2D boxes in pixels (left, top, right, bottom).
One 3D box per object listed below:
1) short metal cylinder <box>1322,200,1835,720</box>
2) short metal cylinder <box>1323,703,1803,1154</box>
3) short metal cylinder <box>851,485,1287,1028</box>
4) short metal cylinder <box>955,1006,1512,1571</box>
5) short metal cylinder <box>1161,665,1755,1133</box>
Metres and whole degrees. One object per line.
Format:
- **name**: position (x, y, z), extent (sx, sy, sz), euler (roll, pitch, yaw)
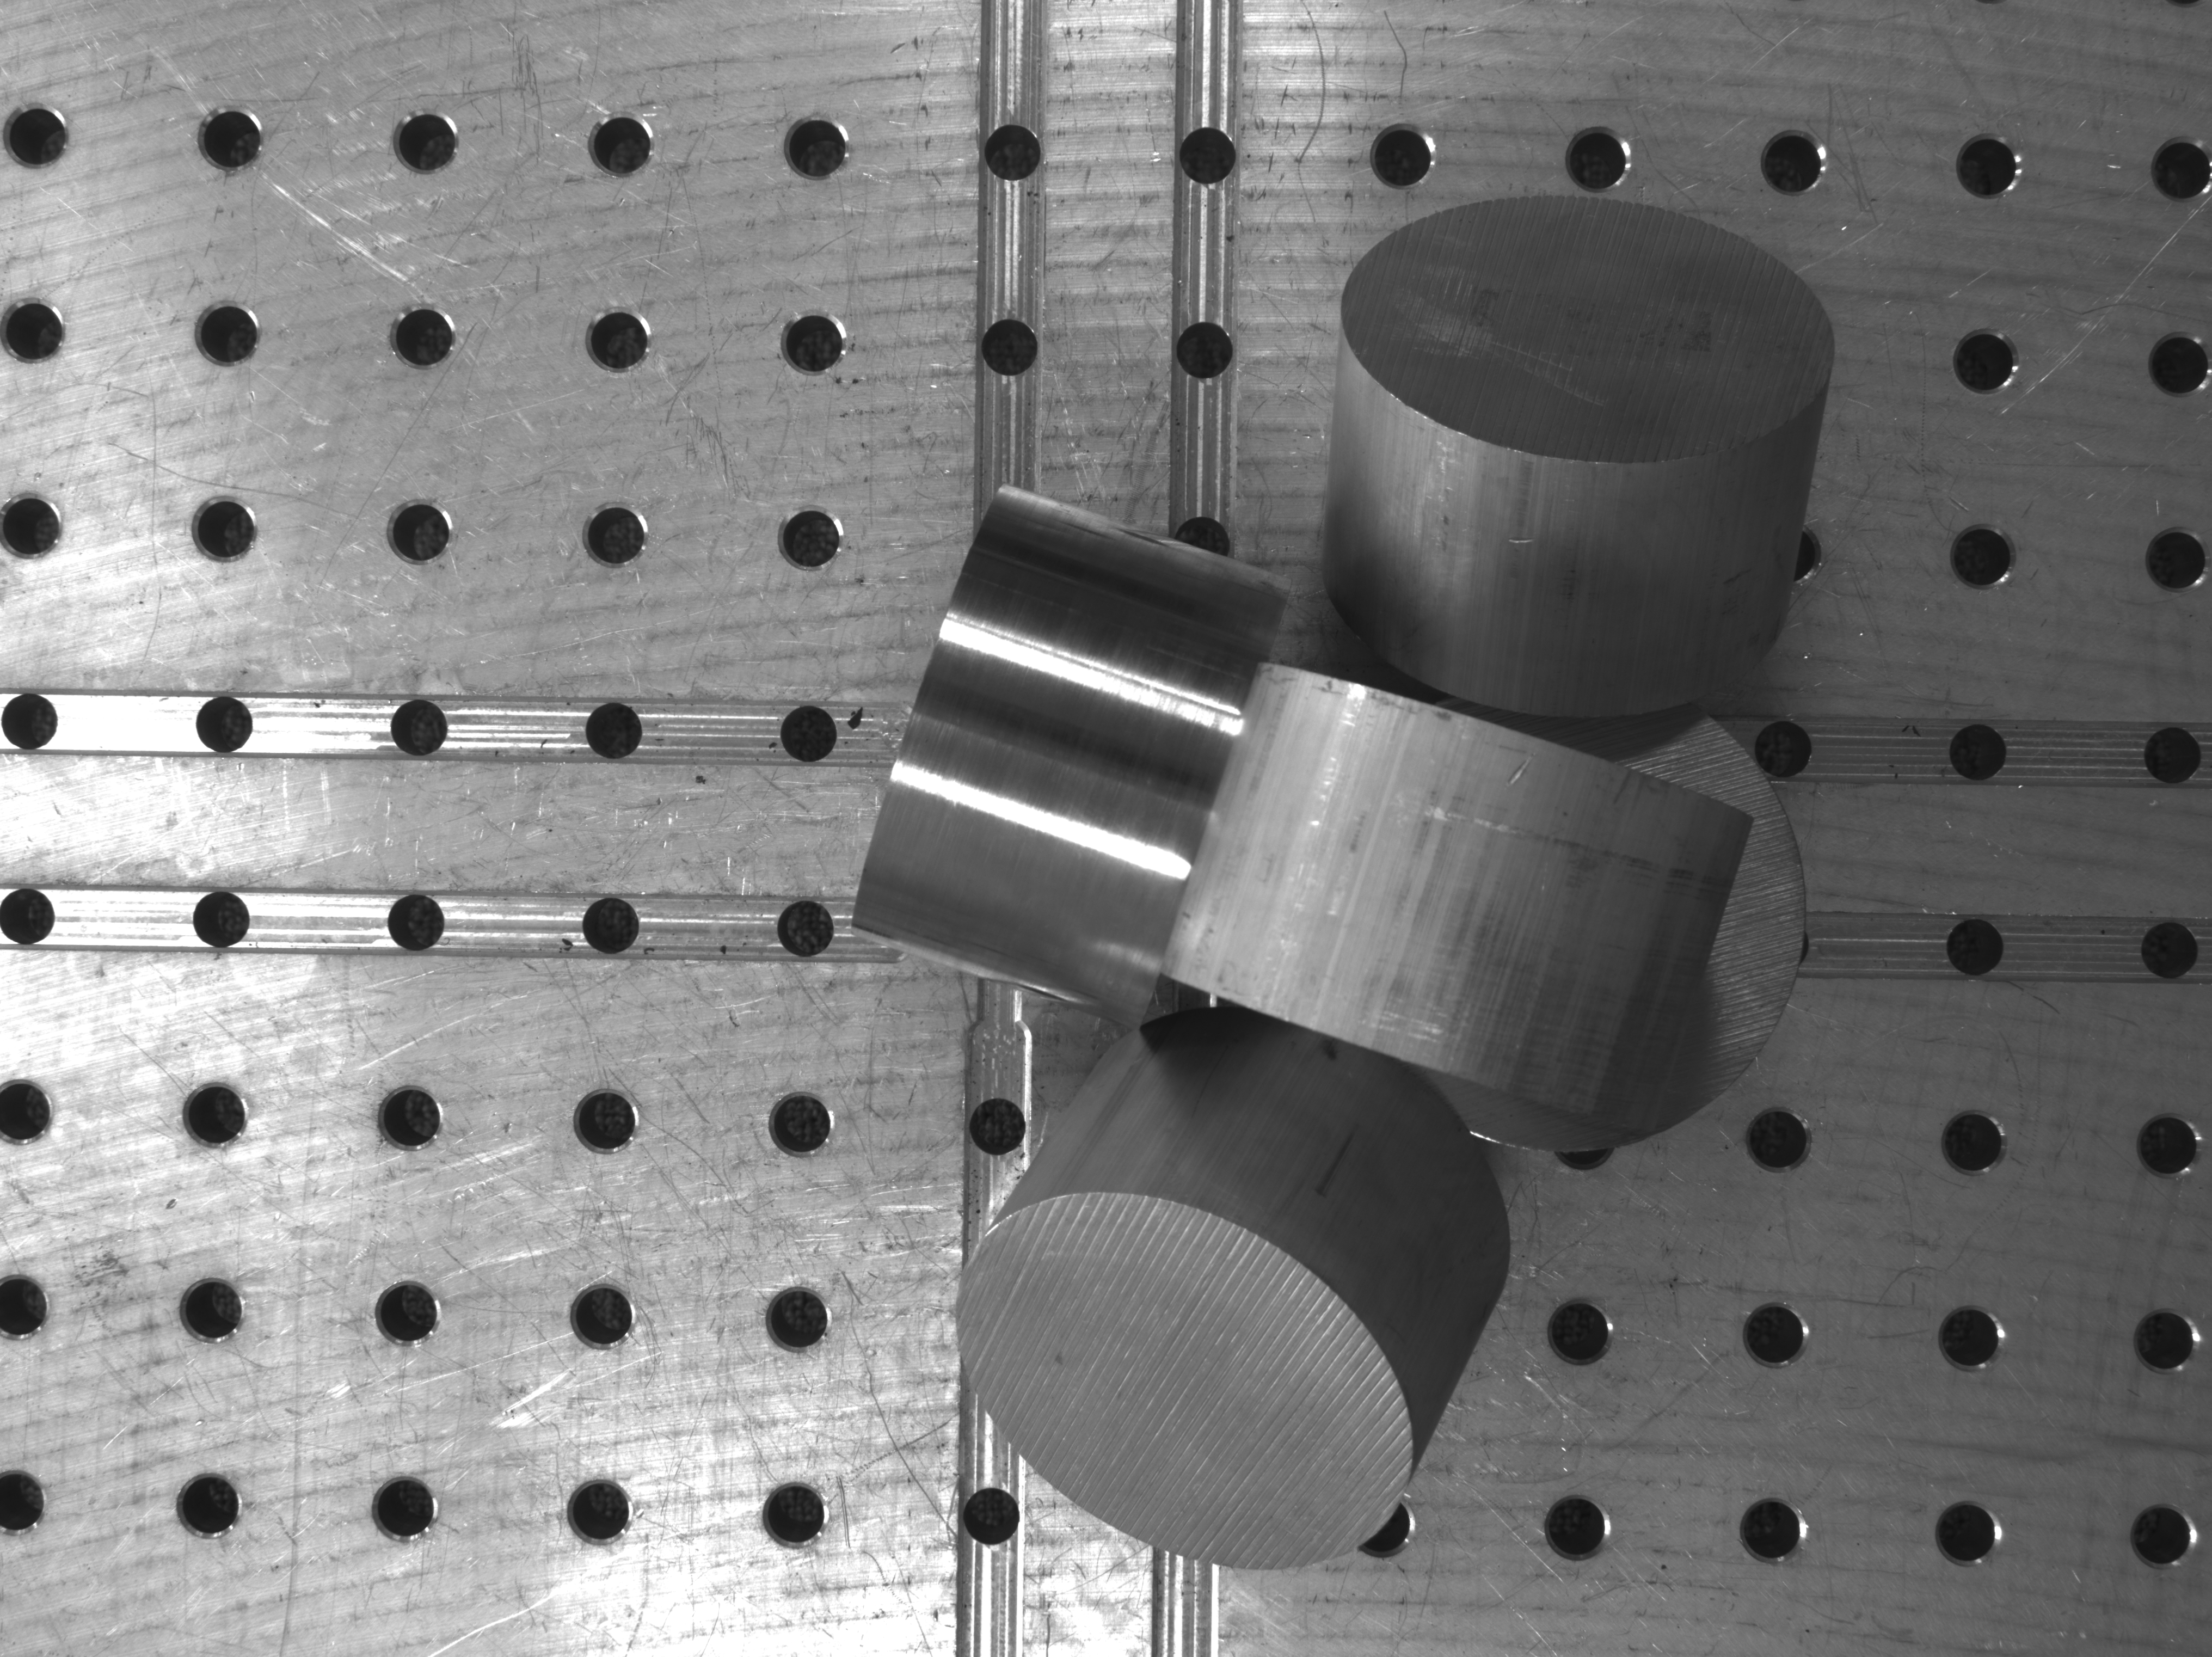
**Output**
- **short metal cylinder**: position (0.077, -0.062, 0.614), extent (0.080, 0.080, 0.050), euler (2, 130, 0)
- **short metal cylinder**: position (0.076, 0.014, 0.635), extent (0.080, 0.050, 0.080), euler (0, 89, 1)
- **short metal cylinder**: position (-0.006, -0.012, 0.620), extent (0.050, 0.080, 0.080), euler (19, 90, 0)
- **short metal cylinder**: position (0.022, 0.077, 0.615), extent (0.080, 0.050, 0.080), euler (14, 129, 18)
- **short metal cylinder**: position (0.054, 0.011, 0.570), extent (0.080, 0.080, 0.050), euler (17, 90, 0)
